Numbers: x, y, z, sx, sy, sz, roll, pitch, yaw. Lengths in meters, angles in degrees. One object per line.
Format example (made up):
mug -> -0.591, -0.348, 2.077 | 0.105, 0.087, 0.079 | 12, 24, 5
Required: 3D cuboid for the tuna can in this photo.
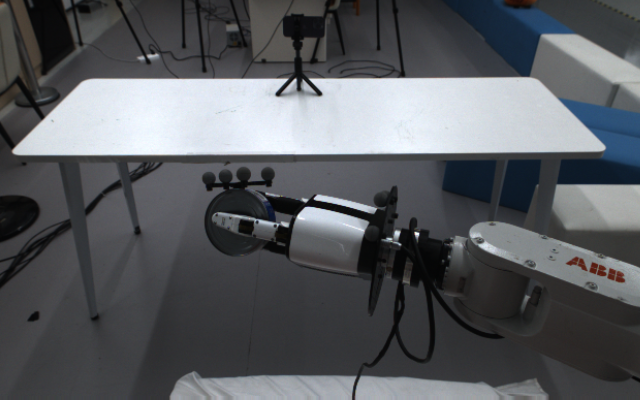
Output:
tuna can -> -0.099, 0.033, 0.615 | 0.085, 0.085, 0.034 | 10, 3, 11
